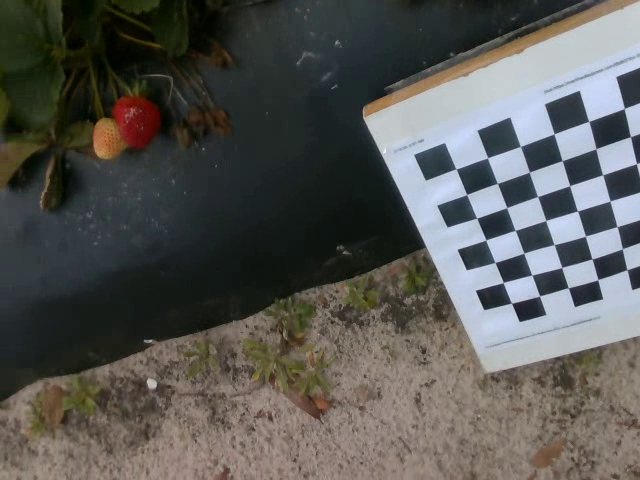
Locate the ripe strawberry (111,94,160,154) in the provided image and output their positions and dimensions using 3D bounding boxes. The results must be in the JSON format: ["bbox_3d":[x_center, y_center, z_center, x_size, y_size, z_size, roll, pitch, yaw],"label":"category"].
[{"bbox_3d":[-0.130,-0.082,0.456,0.034,0.042,0.033,7,-23,1],"label":"ripe strawberry"}]
